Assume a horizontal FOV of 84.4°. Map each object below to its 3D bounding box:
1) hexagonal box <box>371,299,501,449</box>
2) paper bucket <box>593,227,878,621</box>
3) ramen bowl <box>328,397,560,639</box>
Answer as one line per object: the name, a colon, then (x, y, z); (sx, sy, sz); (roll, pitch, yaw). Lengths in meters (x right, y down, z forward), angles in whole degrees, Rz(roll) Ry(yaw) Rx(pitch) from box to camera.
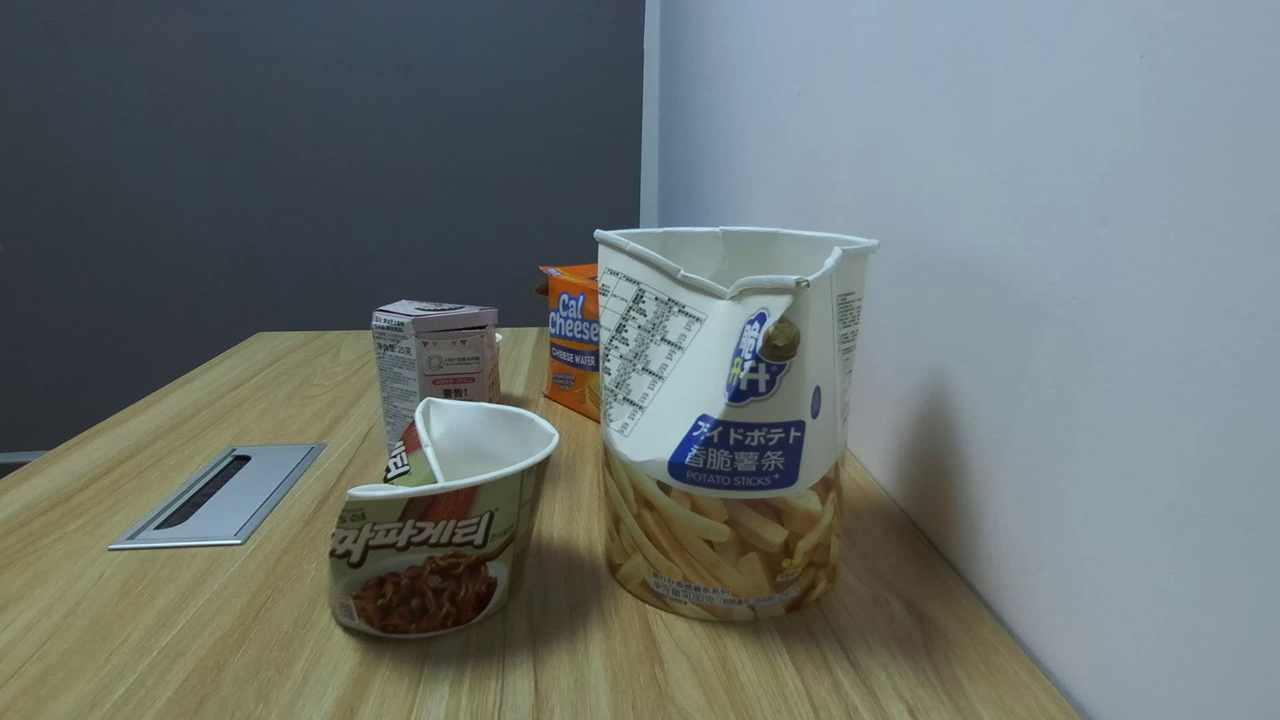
hexagonal box: (-0.151, 0.023, 0.542); (0.092, 0.135, 0.084); (-7, 18, -21)
paper bucket: (0.043, 0.027, 0.427); (0.162, 0.202, 0.169); (8, 16, 27)
ramen bowl: (-0.115, 0.088, 0.399); (0.137, 0.098, 0.137); (1, 20, 0)
